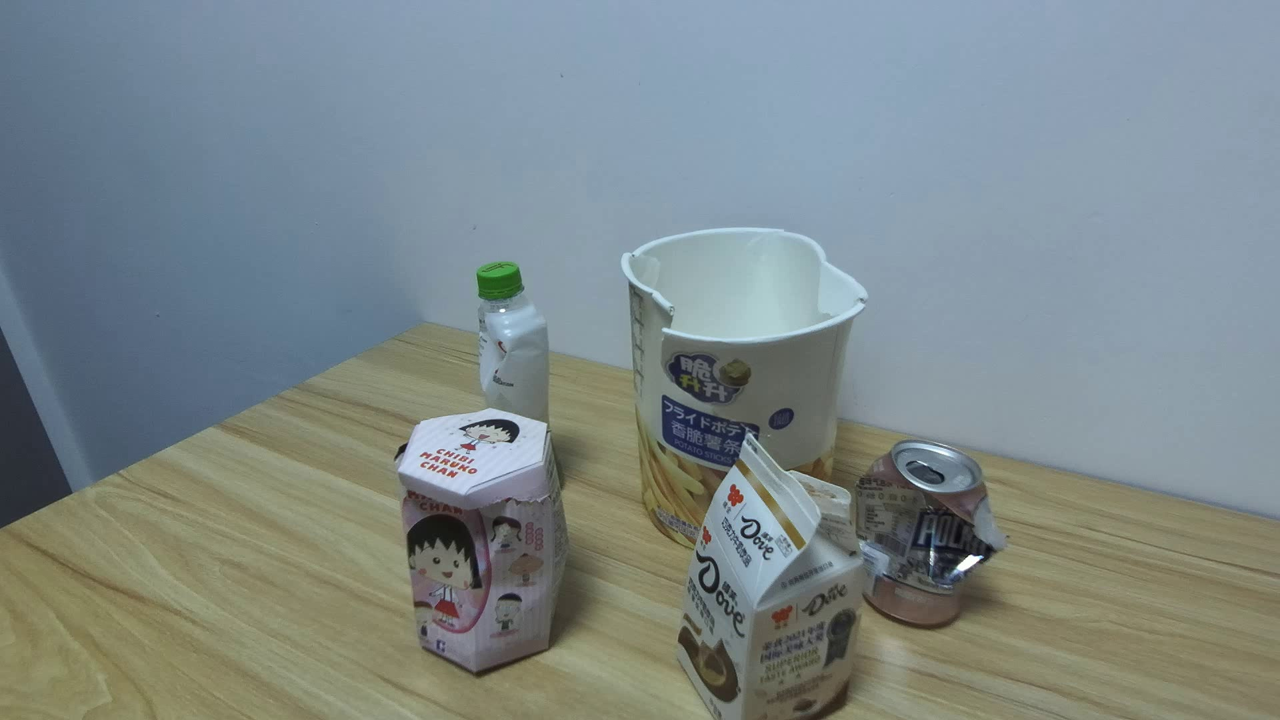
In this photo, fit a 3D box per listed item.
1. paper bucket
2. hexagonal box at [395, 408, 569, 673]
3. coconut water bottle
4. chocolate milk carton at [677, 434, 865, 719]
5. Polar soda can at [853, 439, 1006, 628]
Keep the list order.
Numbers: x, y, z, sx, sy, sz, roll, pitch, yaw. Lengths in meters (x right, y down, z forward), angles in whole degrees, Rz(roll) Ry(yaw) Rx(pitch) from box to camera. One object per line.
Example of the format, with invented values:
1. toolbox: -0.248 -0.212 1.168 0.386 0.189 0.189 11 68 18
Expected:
1. paper bucket: 0.072 0.023 0.519 0.146 0.197 0.202 -8 27 -10
2. hexagonal box: -0.095 0.106 0.428 0.090 0.134 0.091 -8 26 -21
3. coconut water bottle: -0.095 0.020 0.540 0.069 0.187 0.069 -1 23 1
4. chocolate milk carton: 0.069 0.116 0.376 0.073 0.155 0.084 -13 29 -21
5. Polar soda can: 0.179 0.108 0.445 0.074 0.114 0.070 -12 34 -13
